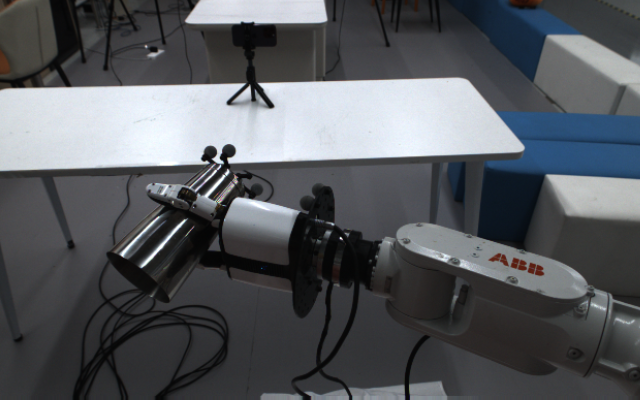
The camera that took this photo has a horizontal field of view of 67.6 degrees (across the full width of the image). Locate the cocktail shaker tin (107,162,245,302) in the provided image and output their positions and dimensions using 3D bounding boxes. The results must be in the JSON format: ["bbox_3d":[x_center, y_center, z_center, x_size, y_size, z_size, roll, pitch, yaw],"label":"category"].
[{"bbox_3d":[-0.167,0.029,0.604,0.093,0.093,0.170,19,54,23],"label":"cocktail shaker tin"}]
